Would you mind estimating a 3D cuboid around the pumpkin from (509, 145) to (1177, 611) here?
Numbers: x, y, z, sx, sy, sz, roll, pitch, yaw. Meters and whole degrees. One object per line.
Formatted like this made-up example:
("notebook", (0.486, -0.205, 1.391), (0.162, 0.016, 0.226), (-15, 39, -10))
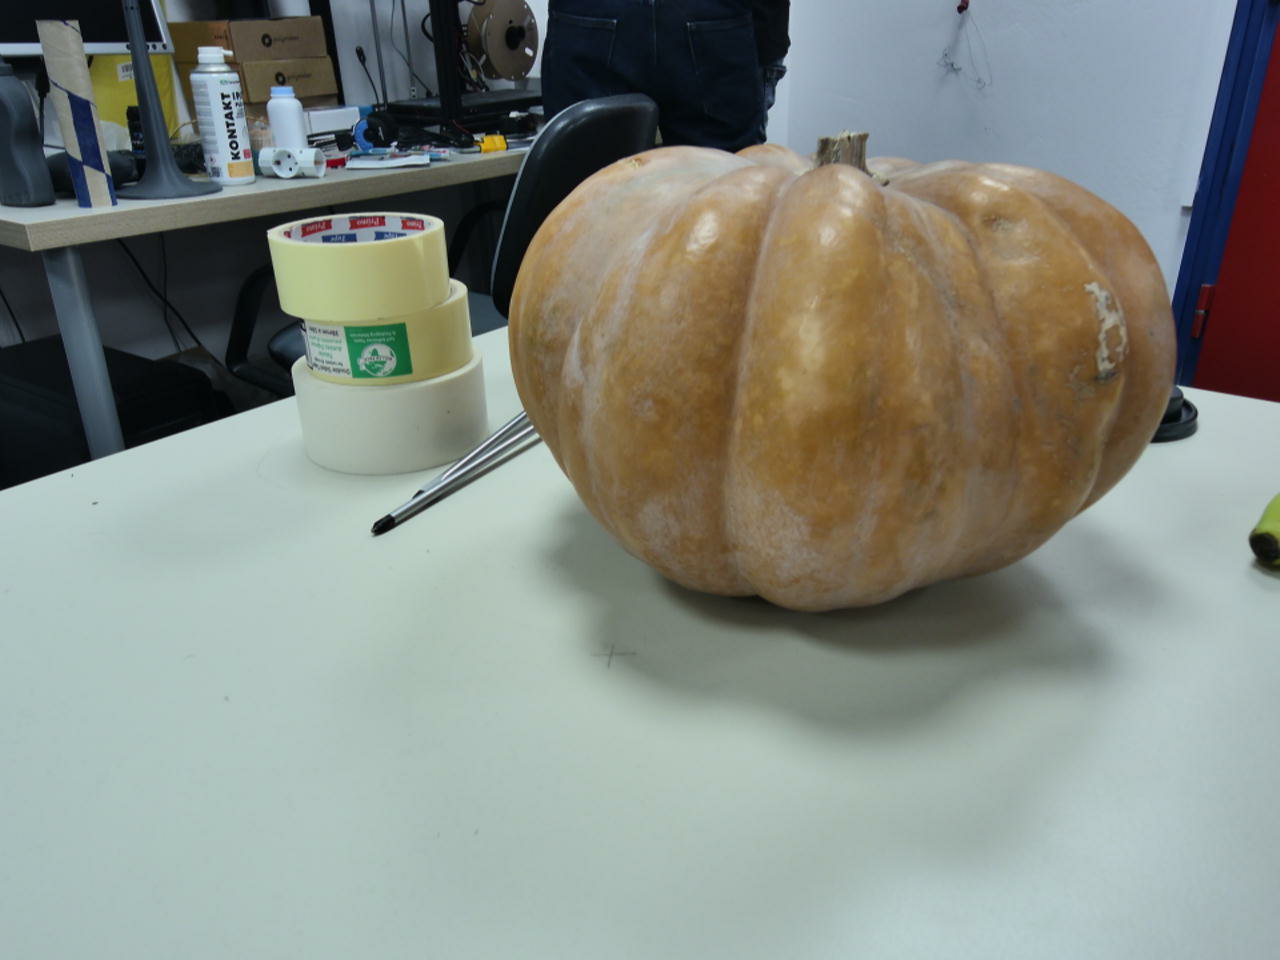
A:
("pumpkin", (0.076, -0.055, 0.435), (0.277, 0.181, 0.277), (0, 23, 0))
